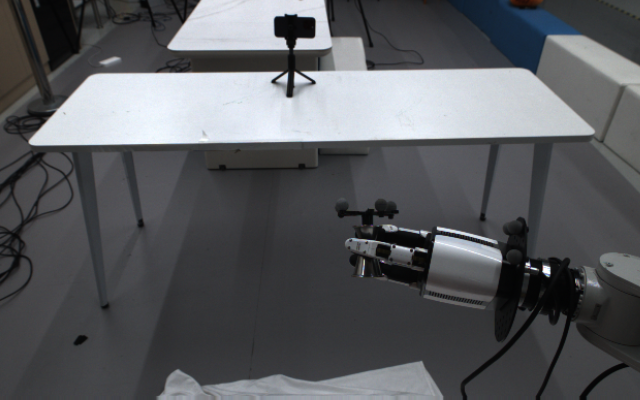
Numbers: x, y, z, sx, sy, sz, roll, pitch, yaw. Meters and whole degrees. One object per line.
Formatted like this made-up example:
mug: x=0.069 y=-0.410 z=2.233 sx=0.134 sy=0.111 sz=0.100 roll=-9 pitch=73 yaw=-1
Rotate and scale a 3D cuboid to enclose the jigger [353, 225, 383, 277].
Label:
jigger: x=0.063 y=0.068 z=0.650 sx=0.043 sy=0.071 sz=0.043 roll=1 pitch=-5 yaw=0
